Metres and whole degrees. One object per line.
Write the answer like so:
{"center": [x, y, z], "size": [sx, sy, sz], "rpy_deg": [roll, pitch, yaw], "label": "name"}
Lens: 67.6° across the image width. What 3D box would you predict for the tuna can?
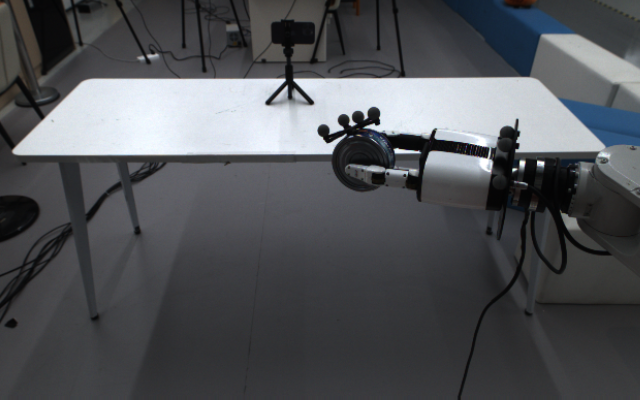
{"center": [0.065, -0.050, 0.682], "size": [0.085, 0.085, 0.034], "rpy_deg": [15, 29, 17], "label": "tuna can"}
